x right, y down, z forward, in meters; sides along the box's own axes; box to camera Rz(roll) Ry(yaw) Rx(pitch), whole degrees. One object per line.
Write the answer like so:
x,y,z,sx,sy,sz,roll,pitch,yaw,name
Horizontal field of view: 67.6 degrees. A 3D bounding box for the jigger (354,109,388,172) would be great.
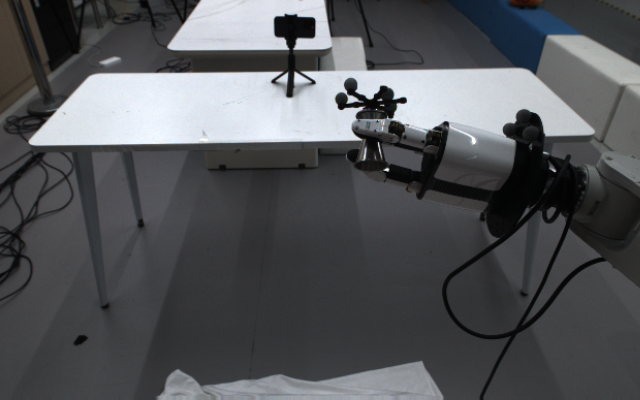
0.063,-0.076,0.607,0.043,0.043,0.071,3,76,1,jigger
